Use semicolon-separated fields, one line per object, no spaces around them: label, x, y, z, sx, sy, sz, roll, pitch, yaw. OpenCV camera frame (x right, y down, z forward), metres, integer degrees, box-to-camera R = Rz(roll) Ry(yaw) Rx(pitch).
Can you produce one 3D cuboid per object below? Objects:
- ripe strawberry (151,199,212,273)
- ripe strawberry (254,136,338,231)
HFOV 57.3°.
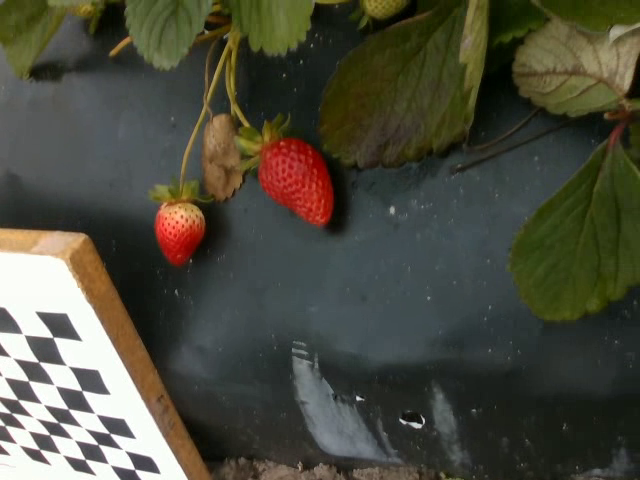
ripe strawberry;-0.081;-0.004;0.323;0.036;0.041;0.027;9;21;30
ripe strawberry;-0.012;-0.029;0.290;0.041;0.059;0.044;-30;-11;-37
